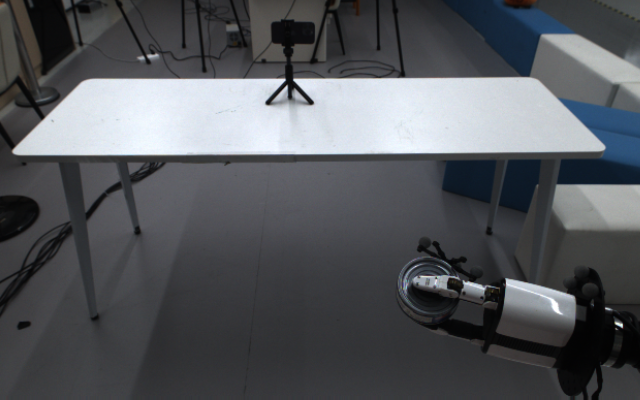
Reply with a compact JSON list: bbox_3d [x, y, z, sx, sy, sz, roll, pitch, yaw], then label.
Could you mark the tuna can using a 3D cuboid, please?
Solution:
[{"bbox_3d":[0.149,0.126,0.645,0.085,0.034,0.085,-4,58,6],"label":"tuna can"}]
